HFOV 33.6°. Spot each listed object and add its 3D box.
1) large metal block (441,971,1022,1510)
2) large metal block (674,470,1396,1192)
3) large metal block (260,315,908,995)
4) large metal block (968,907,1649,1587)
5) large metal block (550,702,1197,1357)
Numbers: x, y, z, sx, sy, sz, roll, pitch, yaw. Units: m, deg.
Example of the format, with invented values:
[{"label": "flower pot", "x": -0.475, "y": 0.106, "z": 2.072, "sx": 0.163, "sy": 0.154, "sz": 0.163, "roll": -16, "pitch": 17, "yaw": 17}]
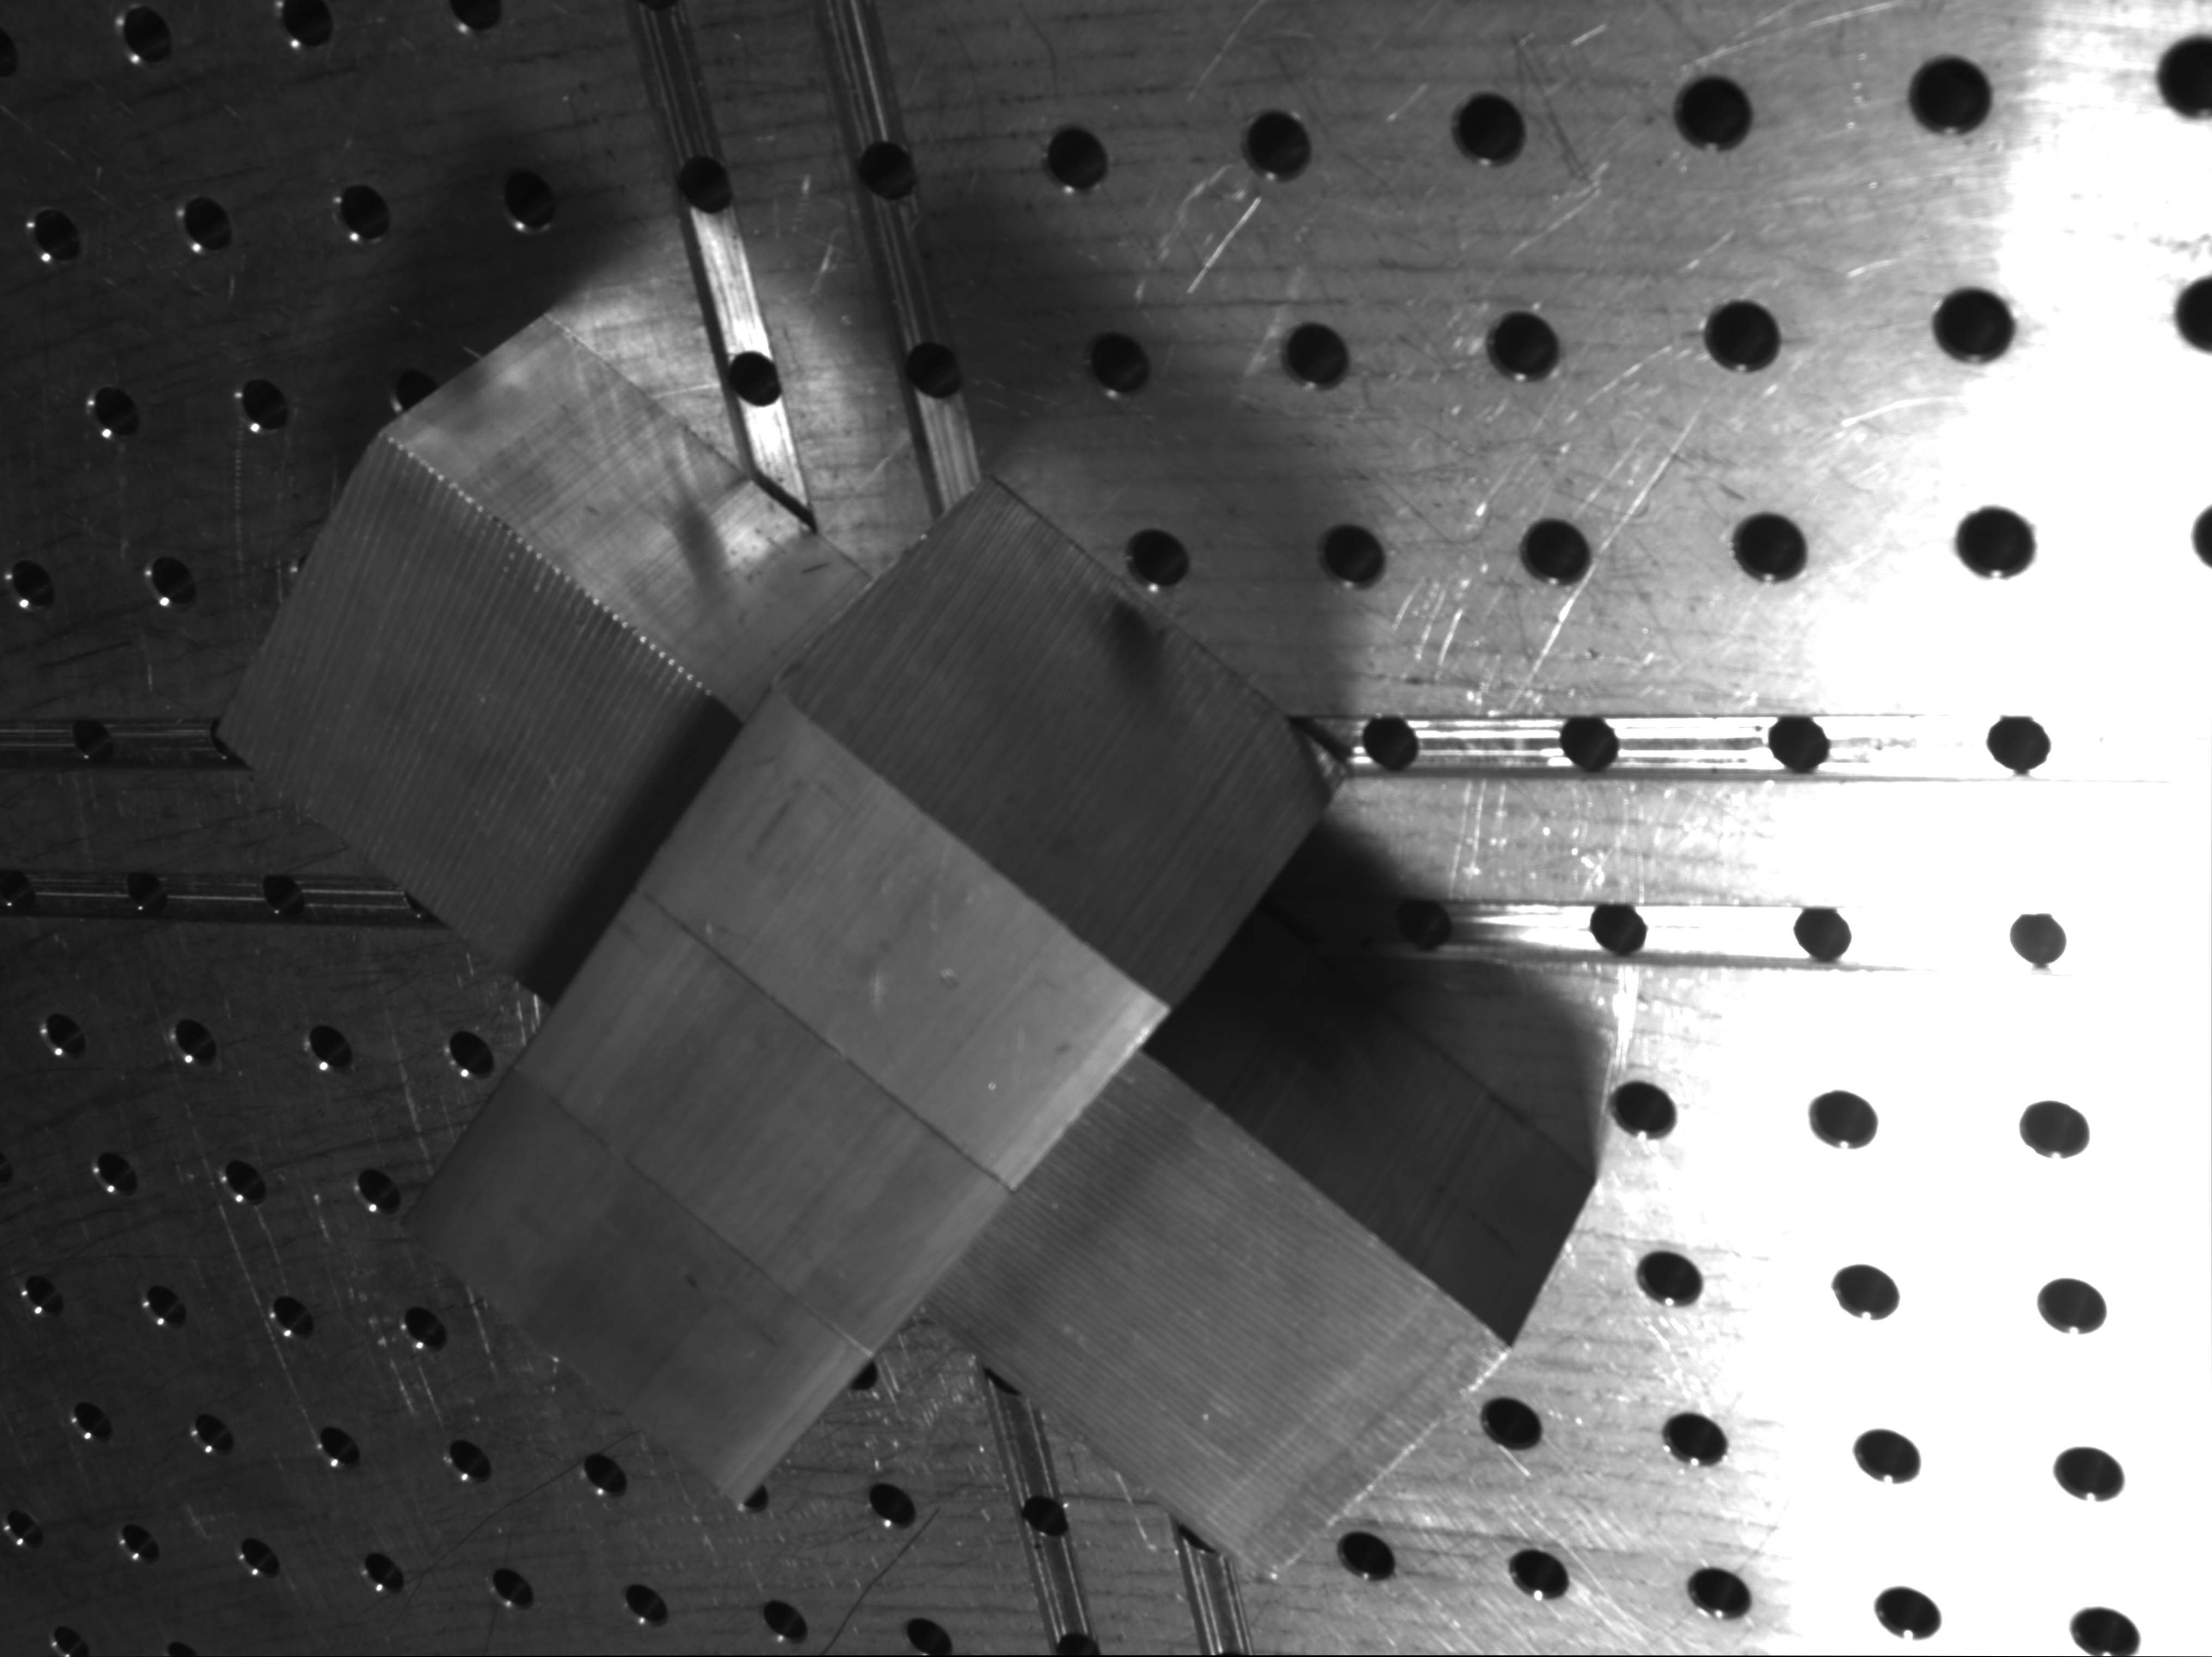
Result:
[{"label": "large metal block", "x": -0.059, "y": 0.061, "z": 0.666, "sx": 0.080, "sy": 0.080, "sz": 0.050, "roll": 39, "pitch": 128, "yaw": 1}, {"label": "large metal block", "x": -0.010, "y": -0.001, "z": 0.604, "sx": 0.080, "sy": 0.080, "sz": 0.050, "roll": 39, "pitch": 128, "yaw": 1}, {"label": "large metal block", "x": -0.090, "y": -0.028, "z": 0.643, "sx": 0.080, "sy": 0.050, "sz": 0.080, "roll": 38, "pitch": 129, "yaw": 1}, {"label": "large metal block", "x": 0.034, "y": 0.073, "z": 0.645, "sx": 0.080, "sy": 0.050, "sz": 0.080, "roll": 39, "pitch": 129, "yaw": 0}, {"label": "large metal block", "x": -0.035, "y": 0.030, "z": 0.635, "sx": 0.080, "sy": 0.080, "sz": 0.050, "roll": 39, "pitch": 128, "yaw": 1}]
